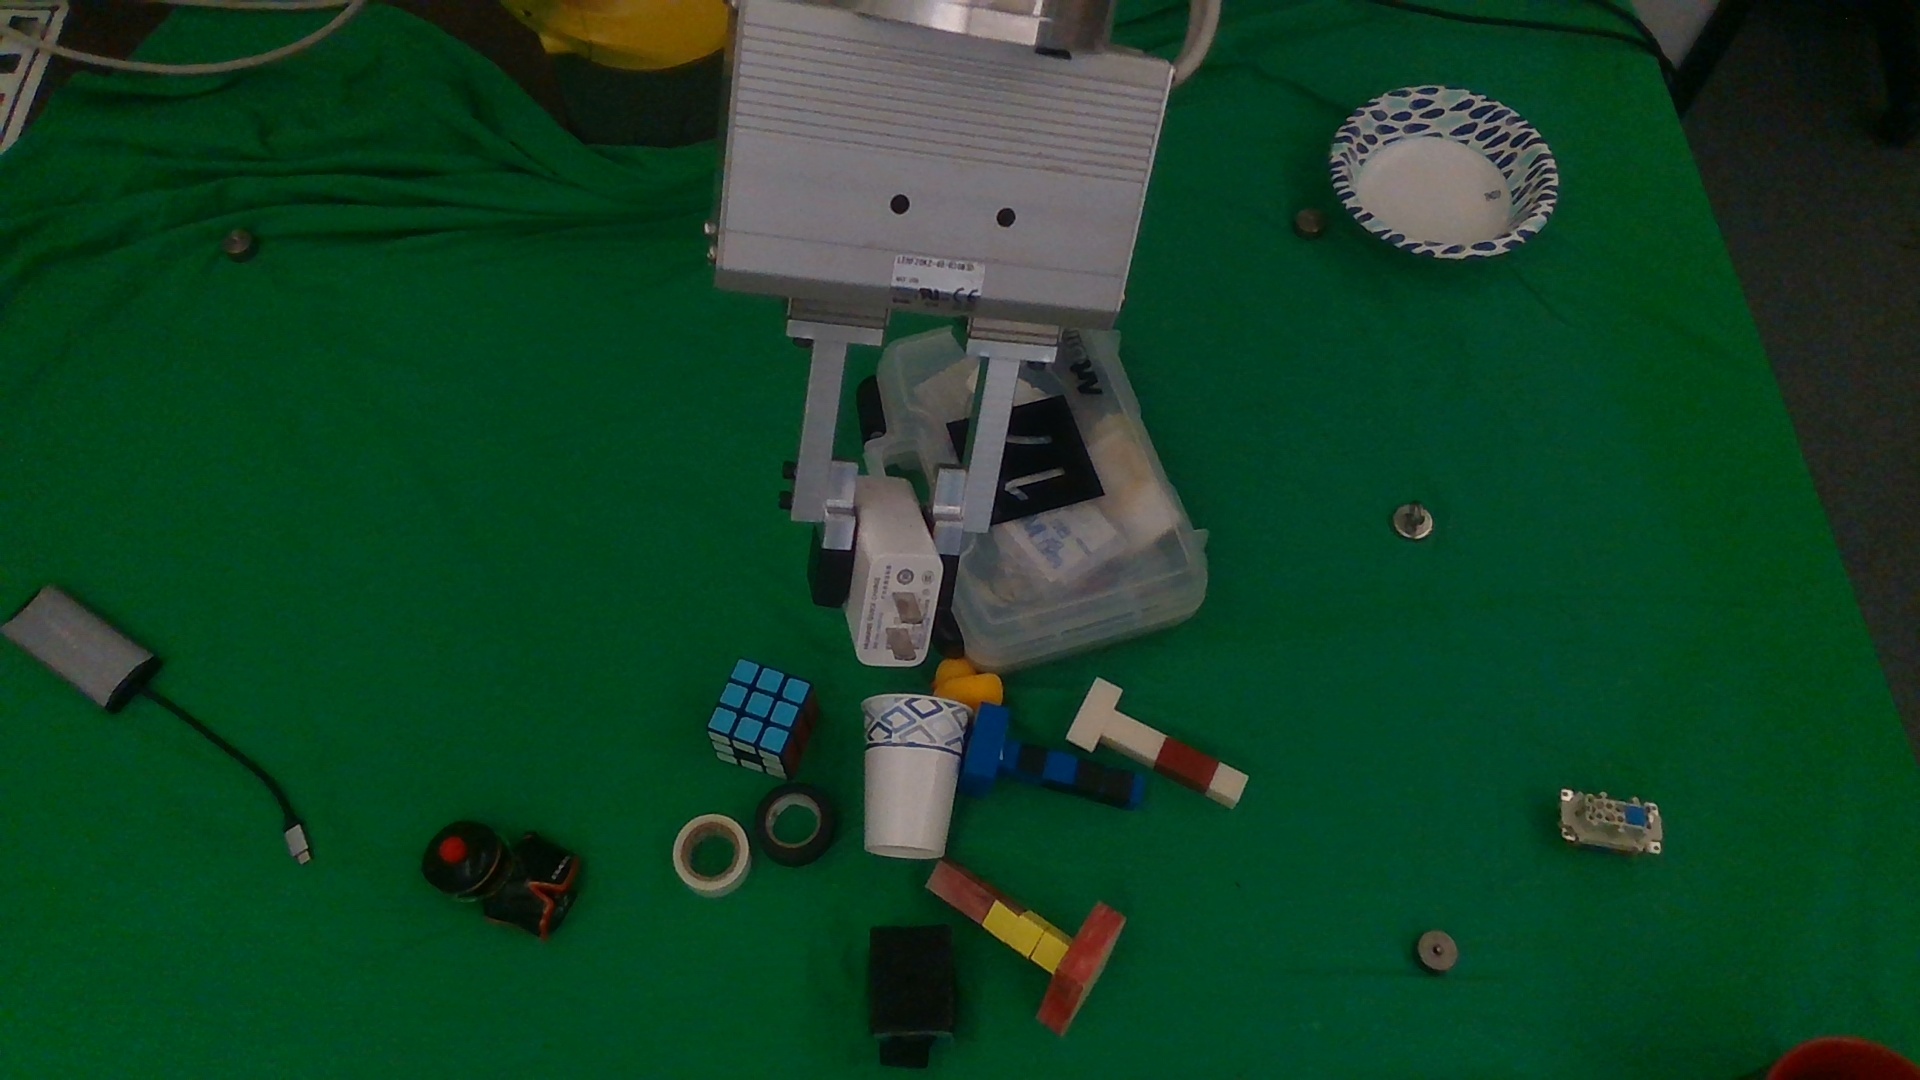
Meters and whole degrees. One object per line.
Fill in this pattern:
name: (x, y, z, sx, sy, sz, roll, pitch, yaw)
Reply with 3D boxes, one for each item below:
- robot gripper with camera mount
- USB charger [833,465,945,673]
robot gripper with camera mount: (-0.025, -0.083, 0.475, 0.119, 0.158, 0.193, 3, 20, -10)
USB charger: (-0.021, 0.012, 0.417, 0.029, 0.044, 0.076, 2, 29, -12)
